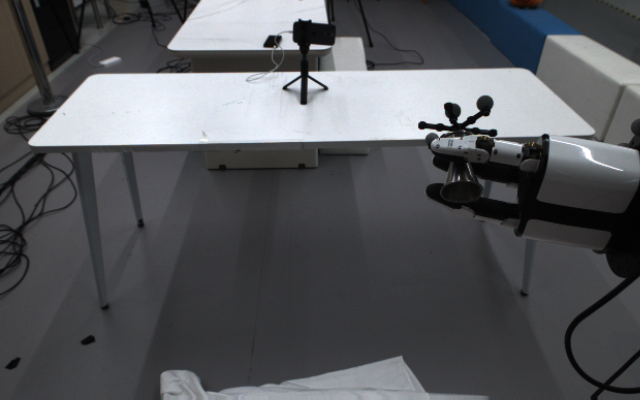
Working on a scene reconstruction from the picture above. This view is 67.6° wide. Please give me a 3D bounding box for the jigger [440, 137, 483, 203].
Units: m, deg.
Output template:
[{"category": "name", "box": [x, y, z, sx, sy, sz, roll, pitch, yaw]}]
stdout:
[{"category": "jigger", "box": [0.150, -0.038, 0.528, 0.043, 0.043, 0.071, 5, 60, 4]}]
